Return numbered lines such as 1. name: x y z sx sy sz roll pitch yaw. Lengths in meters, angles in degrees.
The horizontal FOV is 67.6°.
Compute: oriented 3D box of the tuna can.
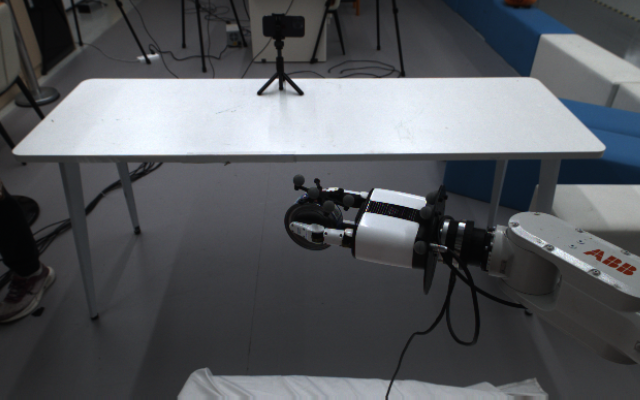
1. tuna can: -0.007 0.034 0.742 0.085 0.085 0.034 13 30 15
